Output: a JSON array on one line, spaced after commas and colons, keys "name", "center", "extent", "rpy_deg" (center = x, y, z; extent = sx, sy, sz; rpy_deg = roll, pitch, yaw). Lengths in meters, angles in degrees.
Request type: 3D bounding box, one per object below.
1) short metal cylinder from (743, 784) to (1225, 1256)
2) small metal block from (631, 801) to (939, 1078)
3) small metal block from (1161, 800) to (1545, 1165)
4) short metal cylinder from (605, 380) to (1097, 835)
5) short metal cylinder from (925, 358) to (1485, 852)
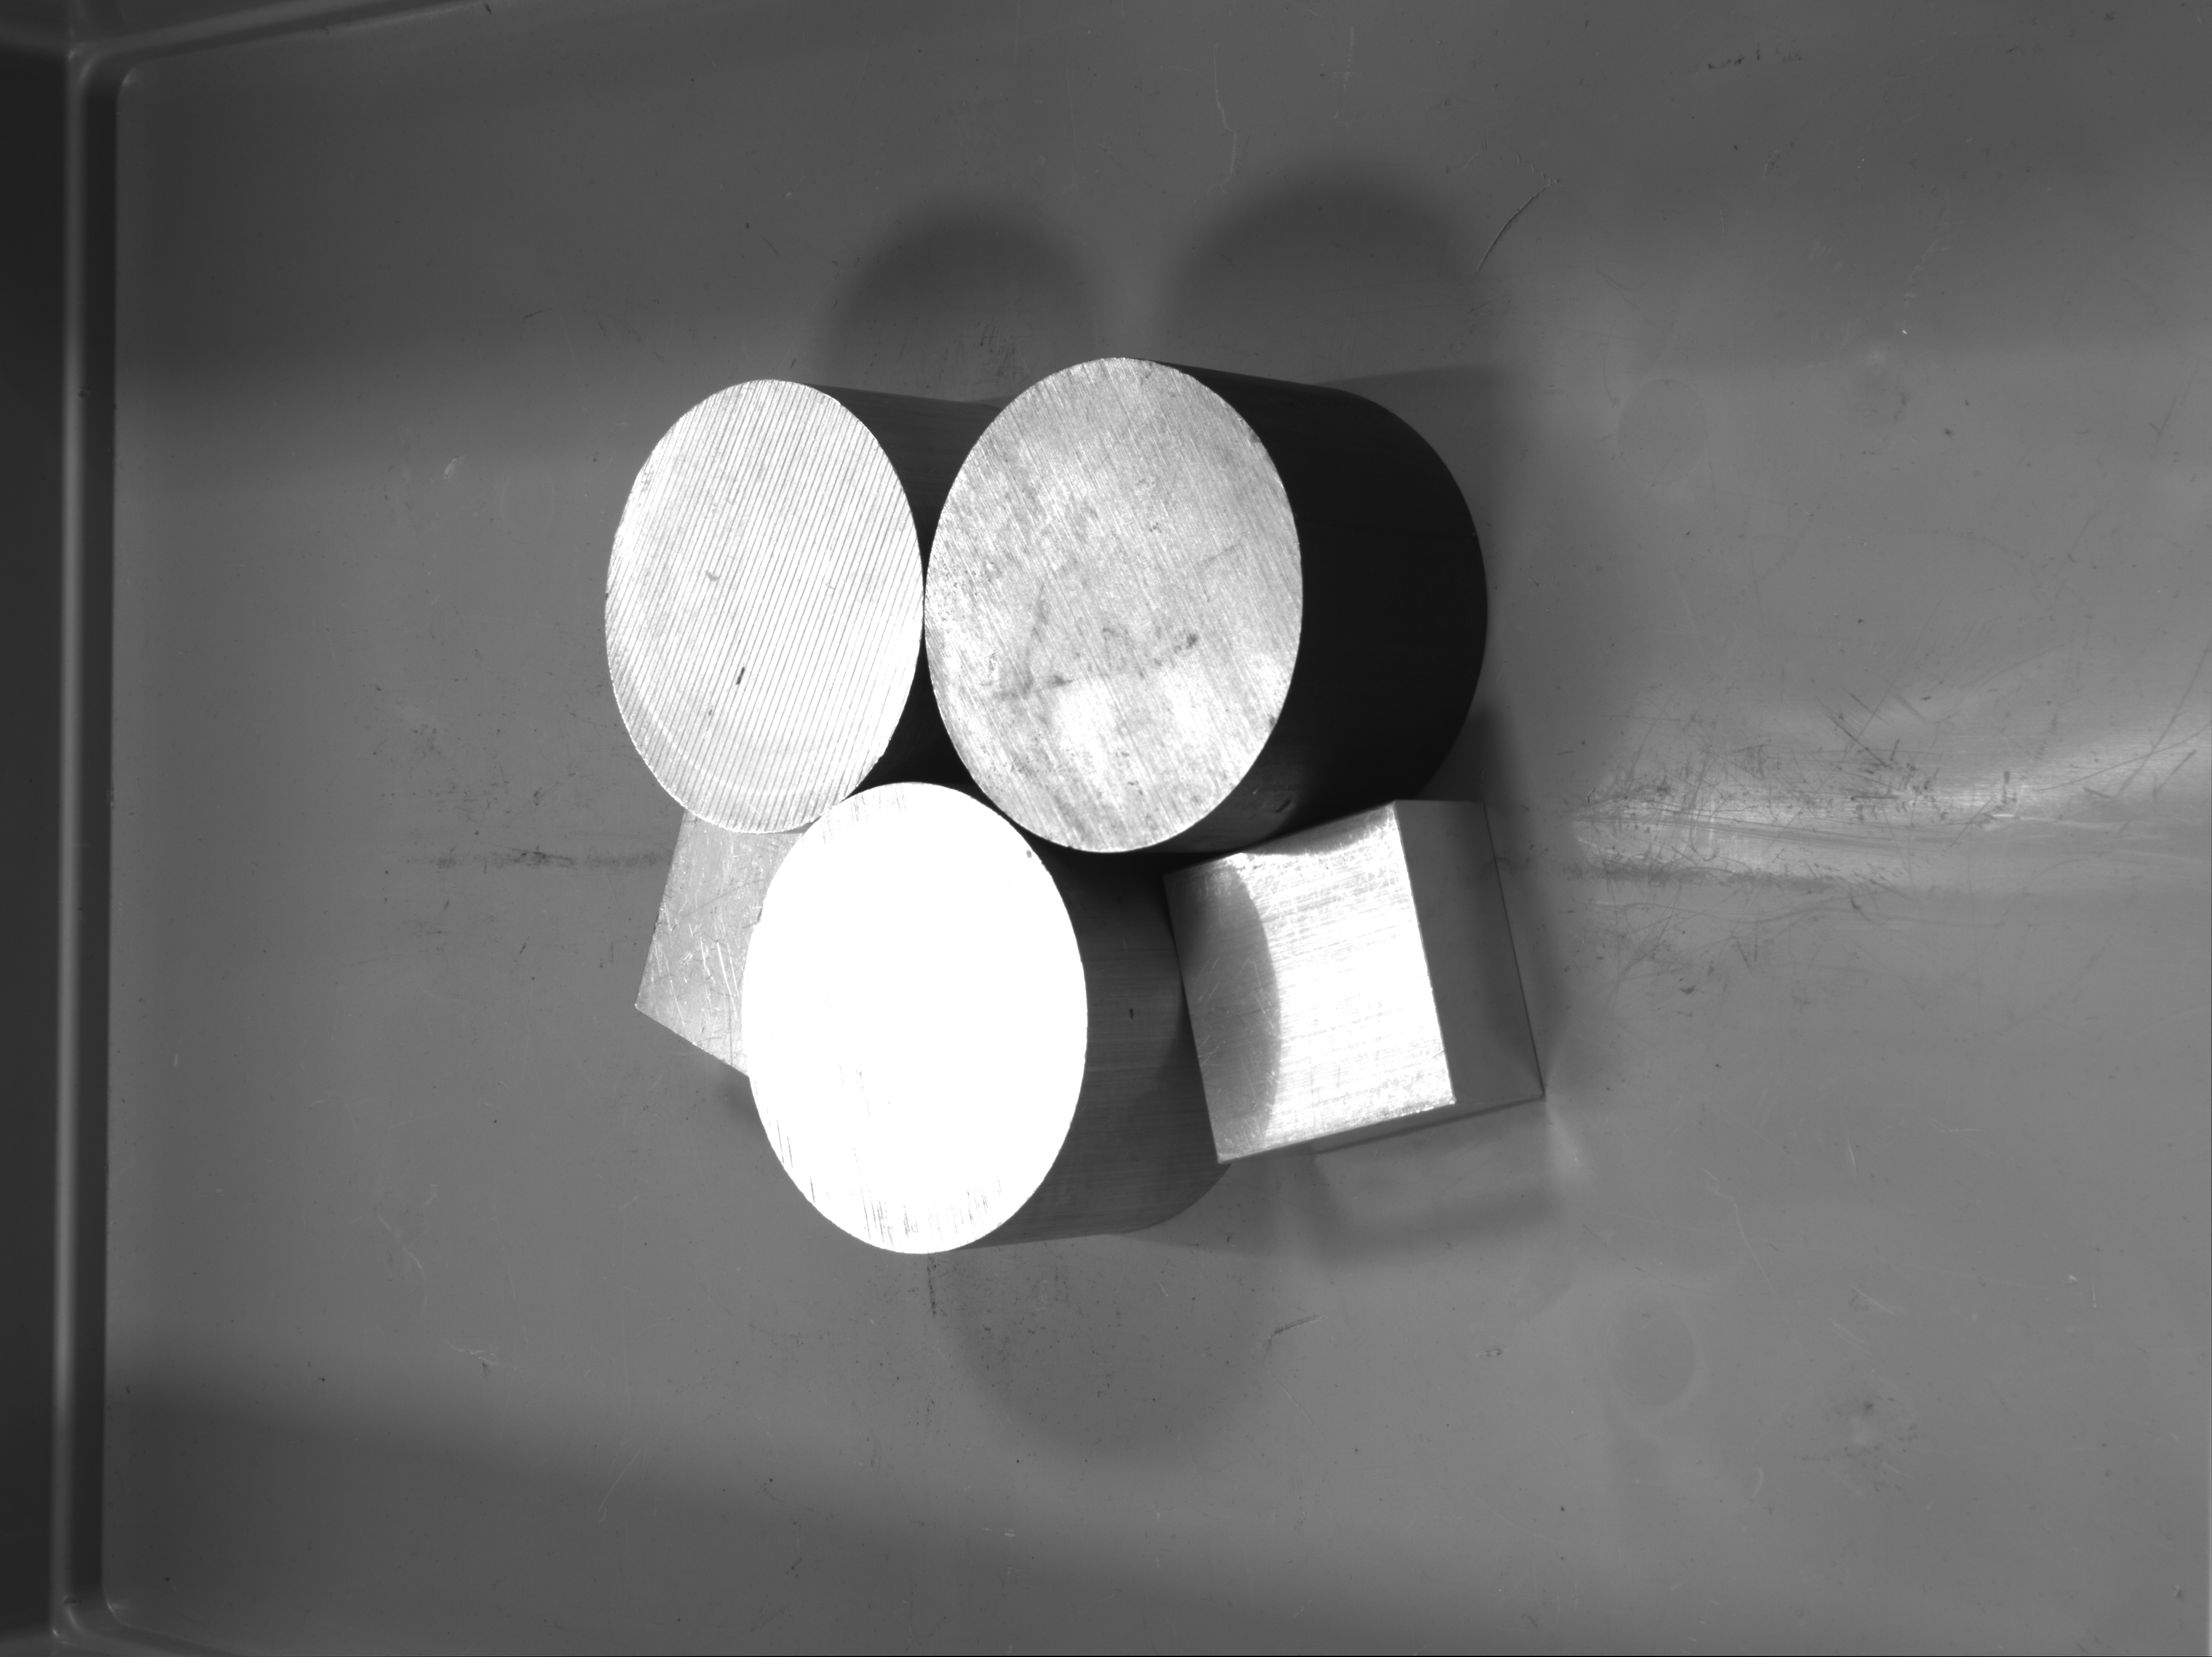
[{"name": "short metal cylinder", "center": [-0.017, 0.033, 0.642], "extent": [0.080, 0.050, 0.080], "rpy_deg": [0, 90, 40]}, {"name": "small metal block", "center": [-0.059, 0.020, 0.694], "extent": [0.050, 0.025, 0.050], "rpy_deg": [26, 107, 37]}, {"name": "small metal block", "center": [0.041, 0.026, 0.610], "extent": [0.050, 0.025, 0.050], "rpy_deg": [-18, 78, 39]}, {"name": "short metal cylinder", "center": [-0.045, -0.039, 0.666], "extent": [0.080, 0.050, 0.080], "rpy_deg": [0, 90, 40]}, {"name": "short metal cylinder", "center": [0.016, -0.036, 0.614], "extent": [0.080, 0.050, 0.080], "rpy_deg": [0, 90, 40]}]
